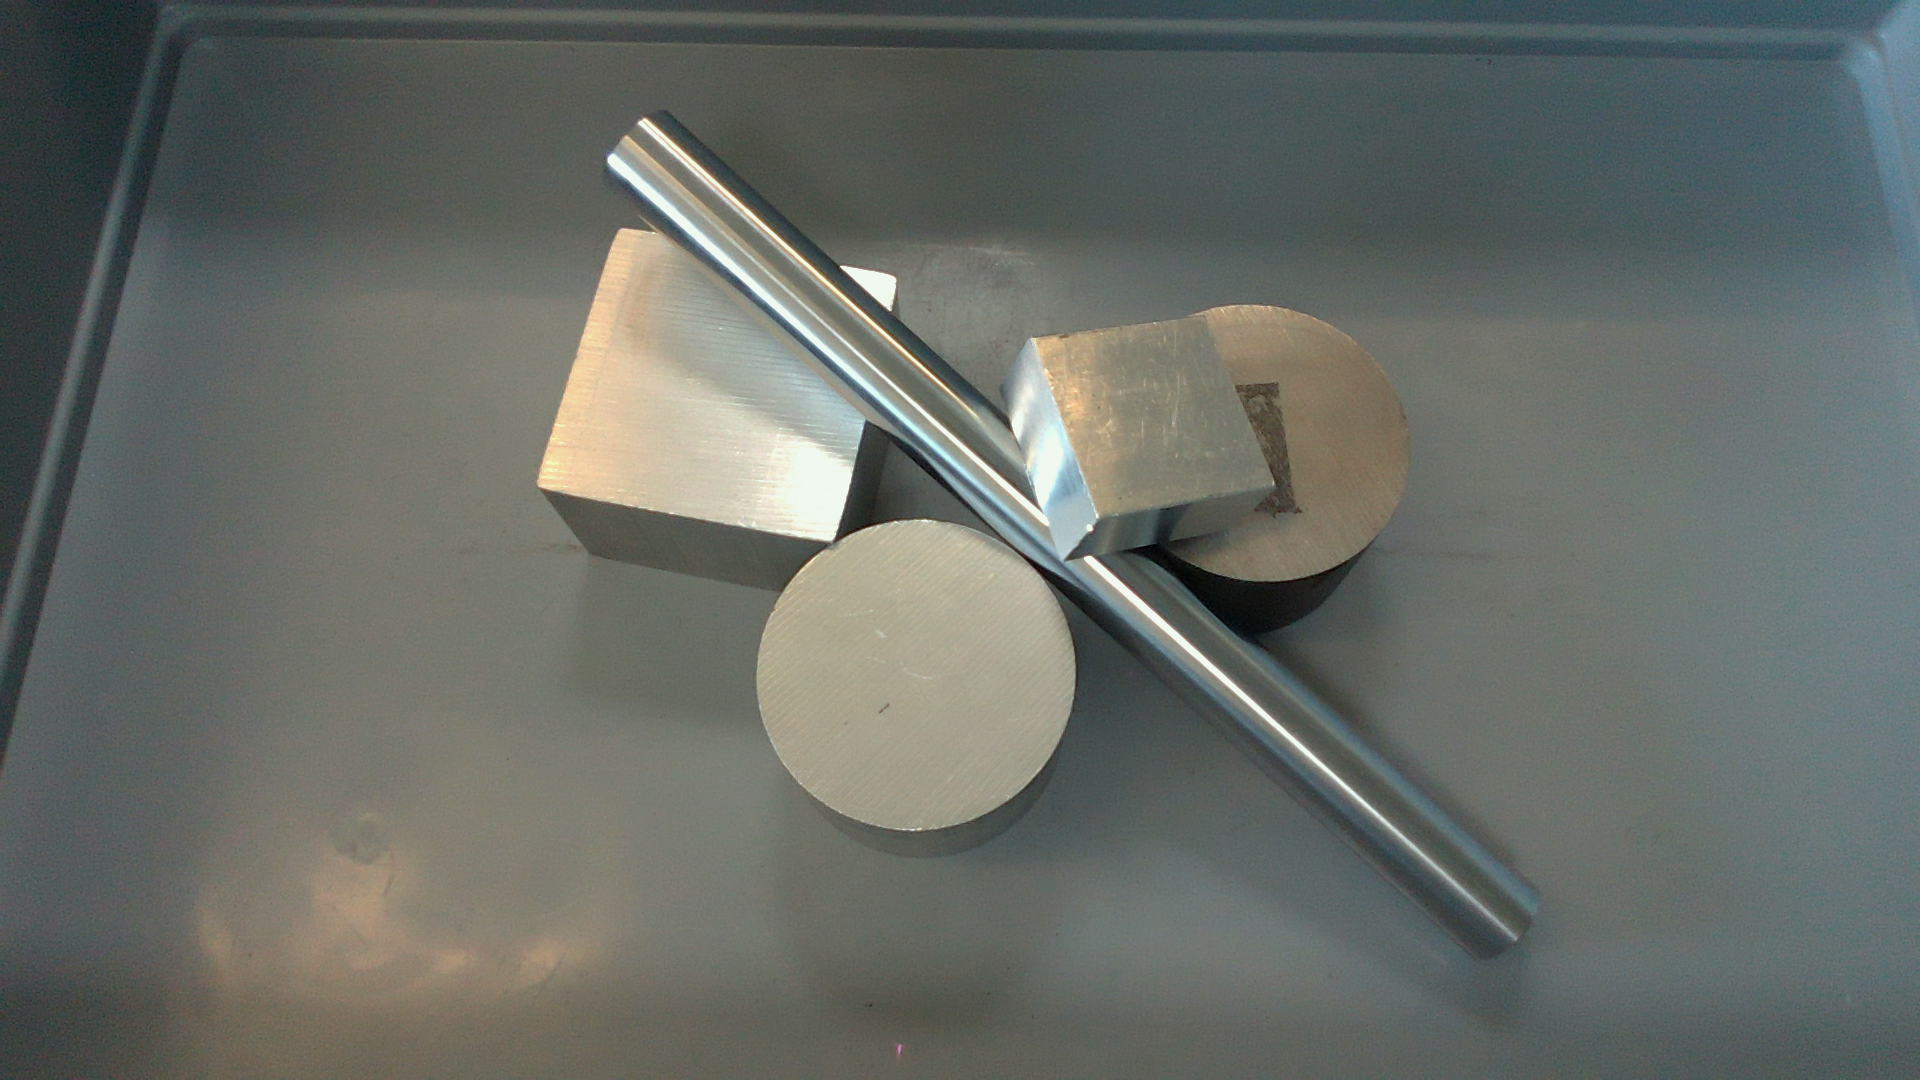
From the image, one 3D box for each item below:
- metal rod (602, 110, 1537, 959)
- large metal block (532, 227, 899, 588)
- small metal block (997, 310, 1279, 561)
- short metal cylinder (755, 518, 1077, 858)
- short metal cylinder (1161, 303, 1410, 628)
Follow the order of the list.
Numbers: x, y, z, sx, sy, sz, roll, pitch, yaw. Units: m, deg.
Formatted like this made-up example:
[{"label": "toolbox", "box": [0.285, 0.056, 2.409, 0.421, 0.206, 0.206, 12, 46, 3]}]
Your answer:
[{"label": "metal rod", "box": [0.029, -0.001, 0.356, 0.300, 0.025, 0.025, 42, 75, -1]}, {"label": "large metal block", "box": [-0.064, -0.035, 0.391, 0.080, 0.050, 0.080, 10, 70, 4]}, {"label": "small metal block", "box": [0.043, -0.027, 0.343, 0.050, 0.025, 0.050, -11, 69, -23]}, {"label": "short metal cylinder", "box": [-0.011, 0.040, 0.365, 0.080, 0.050, 0.080, 0, 70, 0]}, {"label": "short metal cylinder", "box": [0.079, -0.019, 0.387, 0.080, 0.050, 0.080, 0, 70, 0]}]
